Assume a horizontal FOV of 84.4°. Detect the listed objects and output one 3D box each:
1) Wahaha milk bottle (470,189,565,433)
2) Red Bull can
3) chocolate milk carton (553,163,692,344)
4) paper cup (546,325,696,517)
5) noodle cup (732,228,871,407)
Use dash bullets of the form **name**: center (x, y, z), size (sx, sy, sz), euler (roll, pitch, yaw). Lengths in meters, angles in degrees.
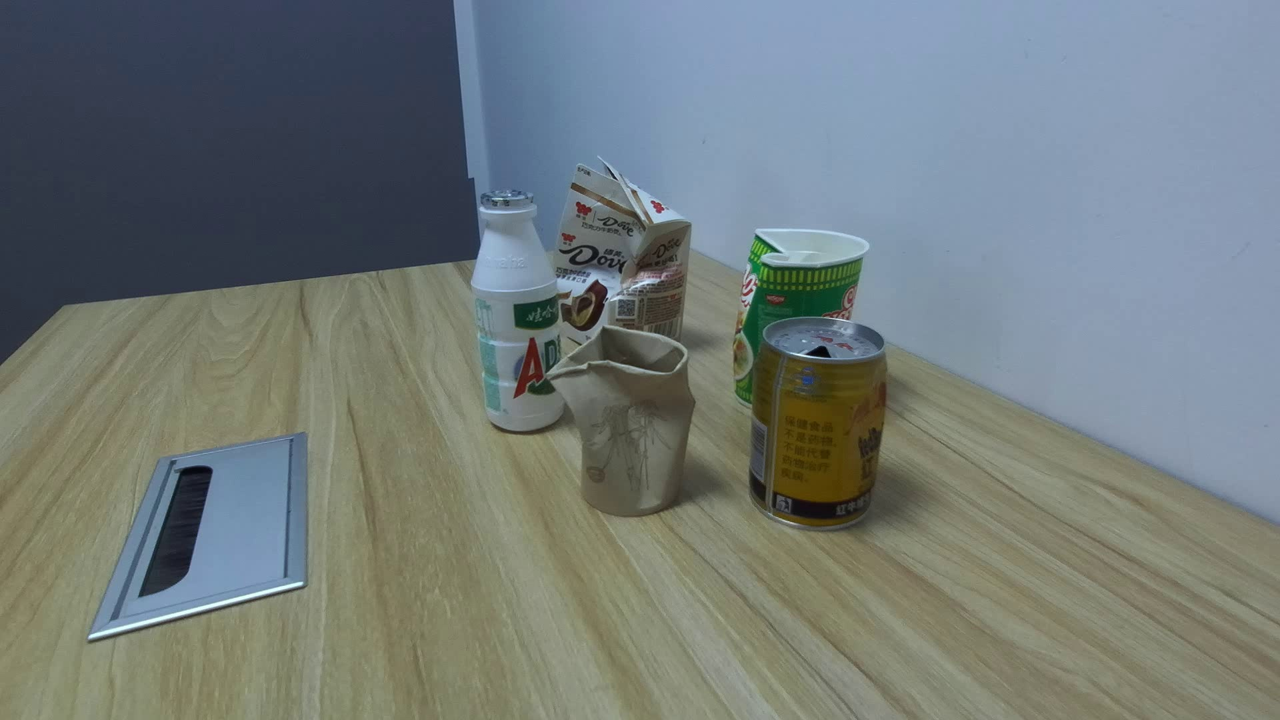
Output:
- **Wahaha milk bottle**: center (-0.077, -0.029, 0.446), size (0.053, 0.147, 0.053), euler (-1, 20, 1)
- **Red Bull can**: center (0.091, 0.030, 0.363), size (0.068, 0.093, 0.068), euler (-1, 24, 1)
- **chocolate milk carton**: center (-0.015, -0.077, 0.562), size (0.077, 0.155, 0.089), euler (-21, 43, -30)
- **paper cup**: center (-0.009, 0.034, 0.372), size (0.066, 0.083, 0.058), euler (14, 31, 36)
- **noodle cup**: center (0.102, -0.024, 0.469), size (0.086, 0.109, 0.094), euler (10, 26, 26)
